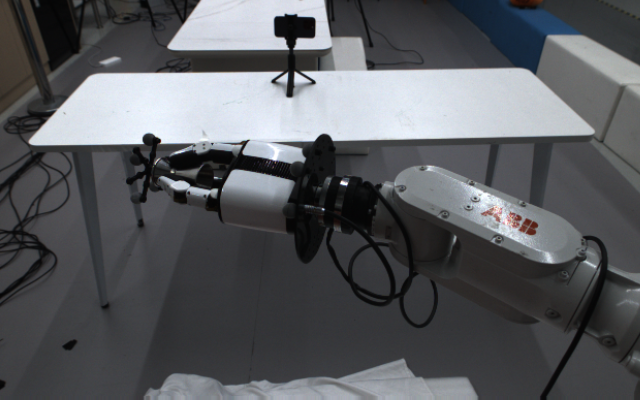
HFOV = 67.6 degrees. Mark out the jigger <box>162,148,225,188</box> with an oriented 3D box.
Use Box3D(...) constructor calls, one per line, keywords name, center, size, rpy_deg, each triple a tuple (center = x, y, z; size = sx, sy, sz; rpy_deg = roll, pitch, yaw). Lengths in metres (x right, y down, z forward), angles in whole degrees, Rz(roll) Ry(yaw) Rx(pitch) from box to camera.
Box3D(name="jigger", center=(-0.175, -0.033, 0.637), size=(0.071, 0.043, 0.043), rpy_deg=(11, 36, 15))
